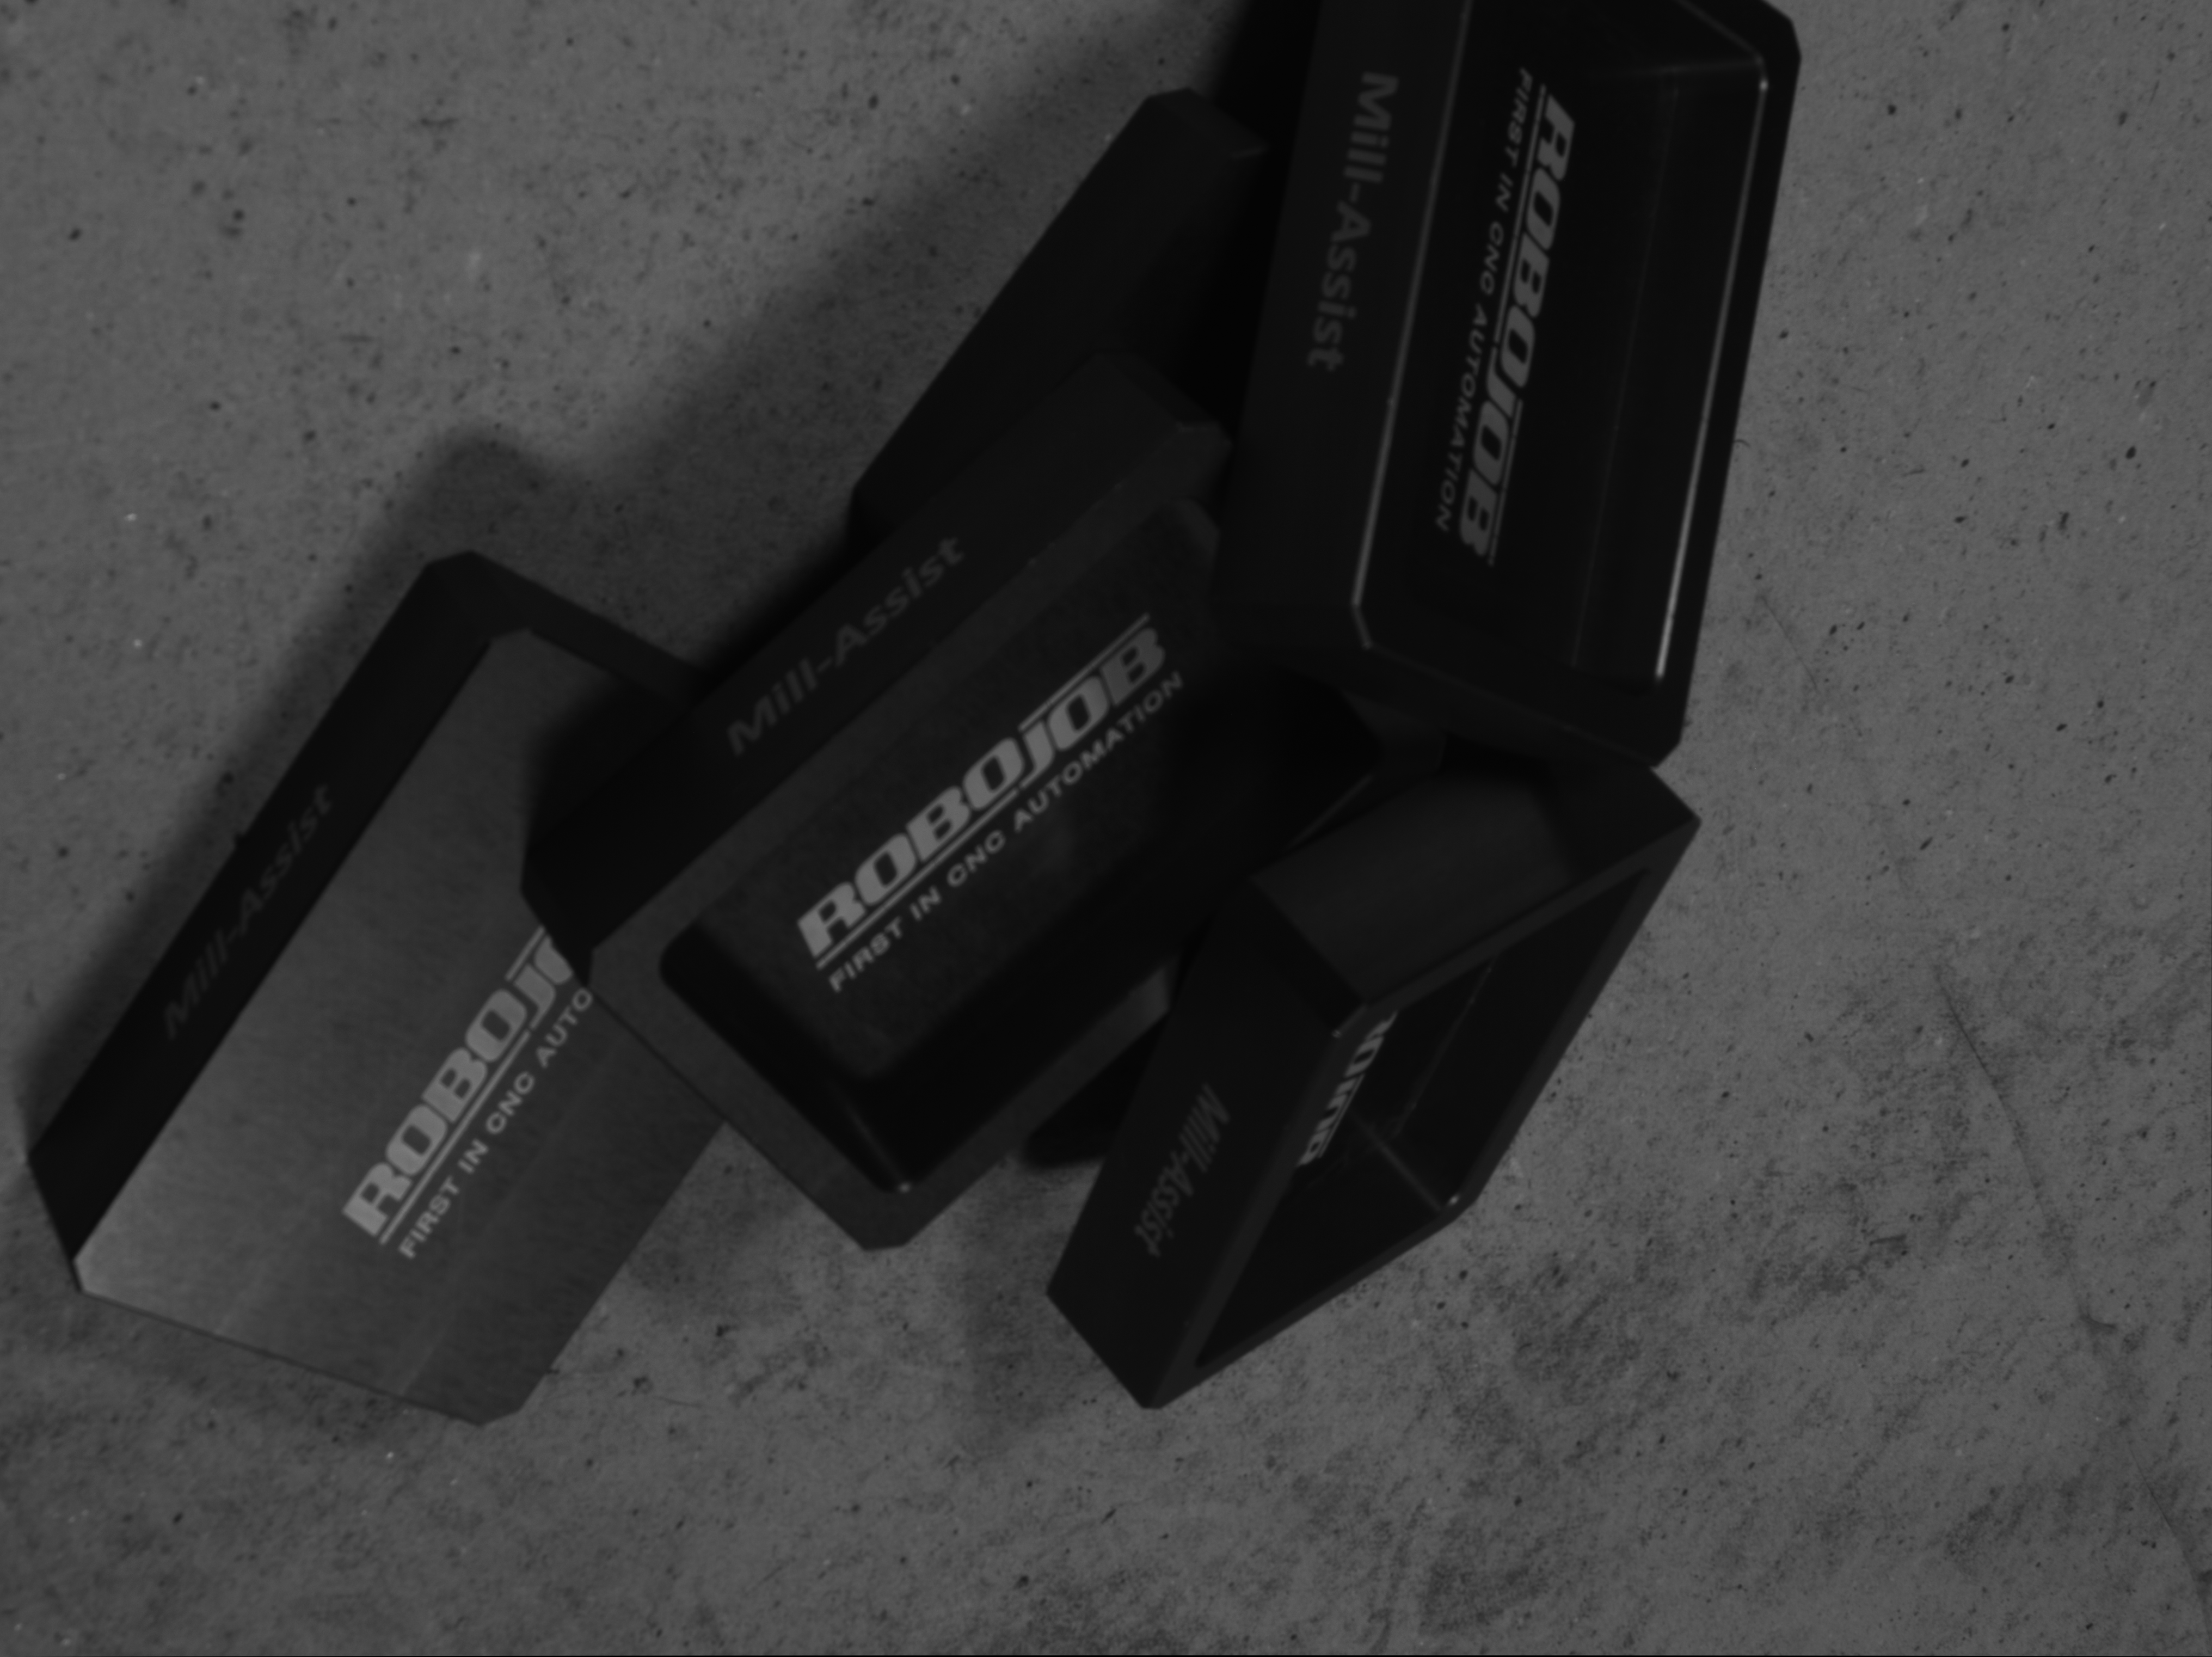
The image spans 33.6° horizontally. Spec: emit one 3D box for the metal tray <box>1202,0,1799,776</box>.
[{"bbox_3d":[0.066,-0.081,0.591,0.090,0.030,0.130,18,81,-47],"label":"metal tray"}]

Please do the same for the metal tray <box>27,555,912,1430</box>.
[{"bbox_3d":[-0.104,0.030,0.605,0.090,0.030,0.130,28,102,-39],"label":"metal tray"}]

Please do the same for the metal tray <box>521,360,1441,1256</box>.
[{"bbox_3d":[-0.018,-0.002,0.597,0.130,0.030,0.090,-41,130,-2],"label":"metal tray"}]

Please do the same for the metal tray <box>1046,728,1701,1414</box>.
[{"bbox_3d":[0.046,0.044,0.657,0.090,0.030,0.130,-27,155,-34],"label":"metal tray"}]

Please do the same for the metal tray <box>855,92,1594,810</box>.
[{"bbox_3d":[0.032,-0.054,0.633,0.130,0.030,0.090,31,100,-39],"label":"metal tray"}]
